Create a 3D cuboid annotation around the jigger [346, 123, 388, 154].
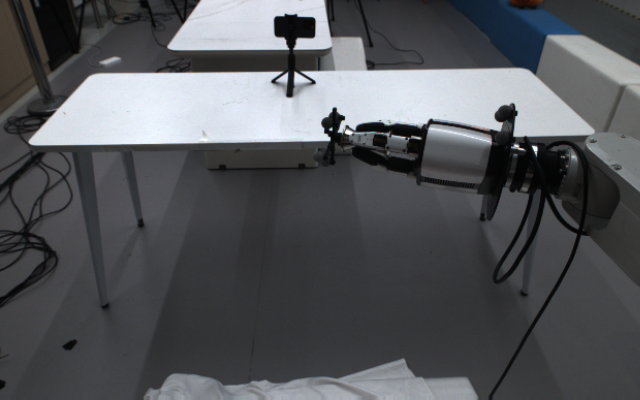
[{"bbox_3d":[0.074,-0.088,0.701,0.071,0.043,0.043,10,35,16],"label":"jigger"}]
